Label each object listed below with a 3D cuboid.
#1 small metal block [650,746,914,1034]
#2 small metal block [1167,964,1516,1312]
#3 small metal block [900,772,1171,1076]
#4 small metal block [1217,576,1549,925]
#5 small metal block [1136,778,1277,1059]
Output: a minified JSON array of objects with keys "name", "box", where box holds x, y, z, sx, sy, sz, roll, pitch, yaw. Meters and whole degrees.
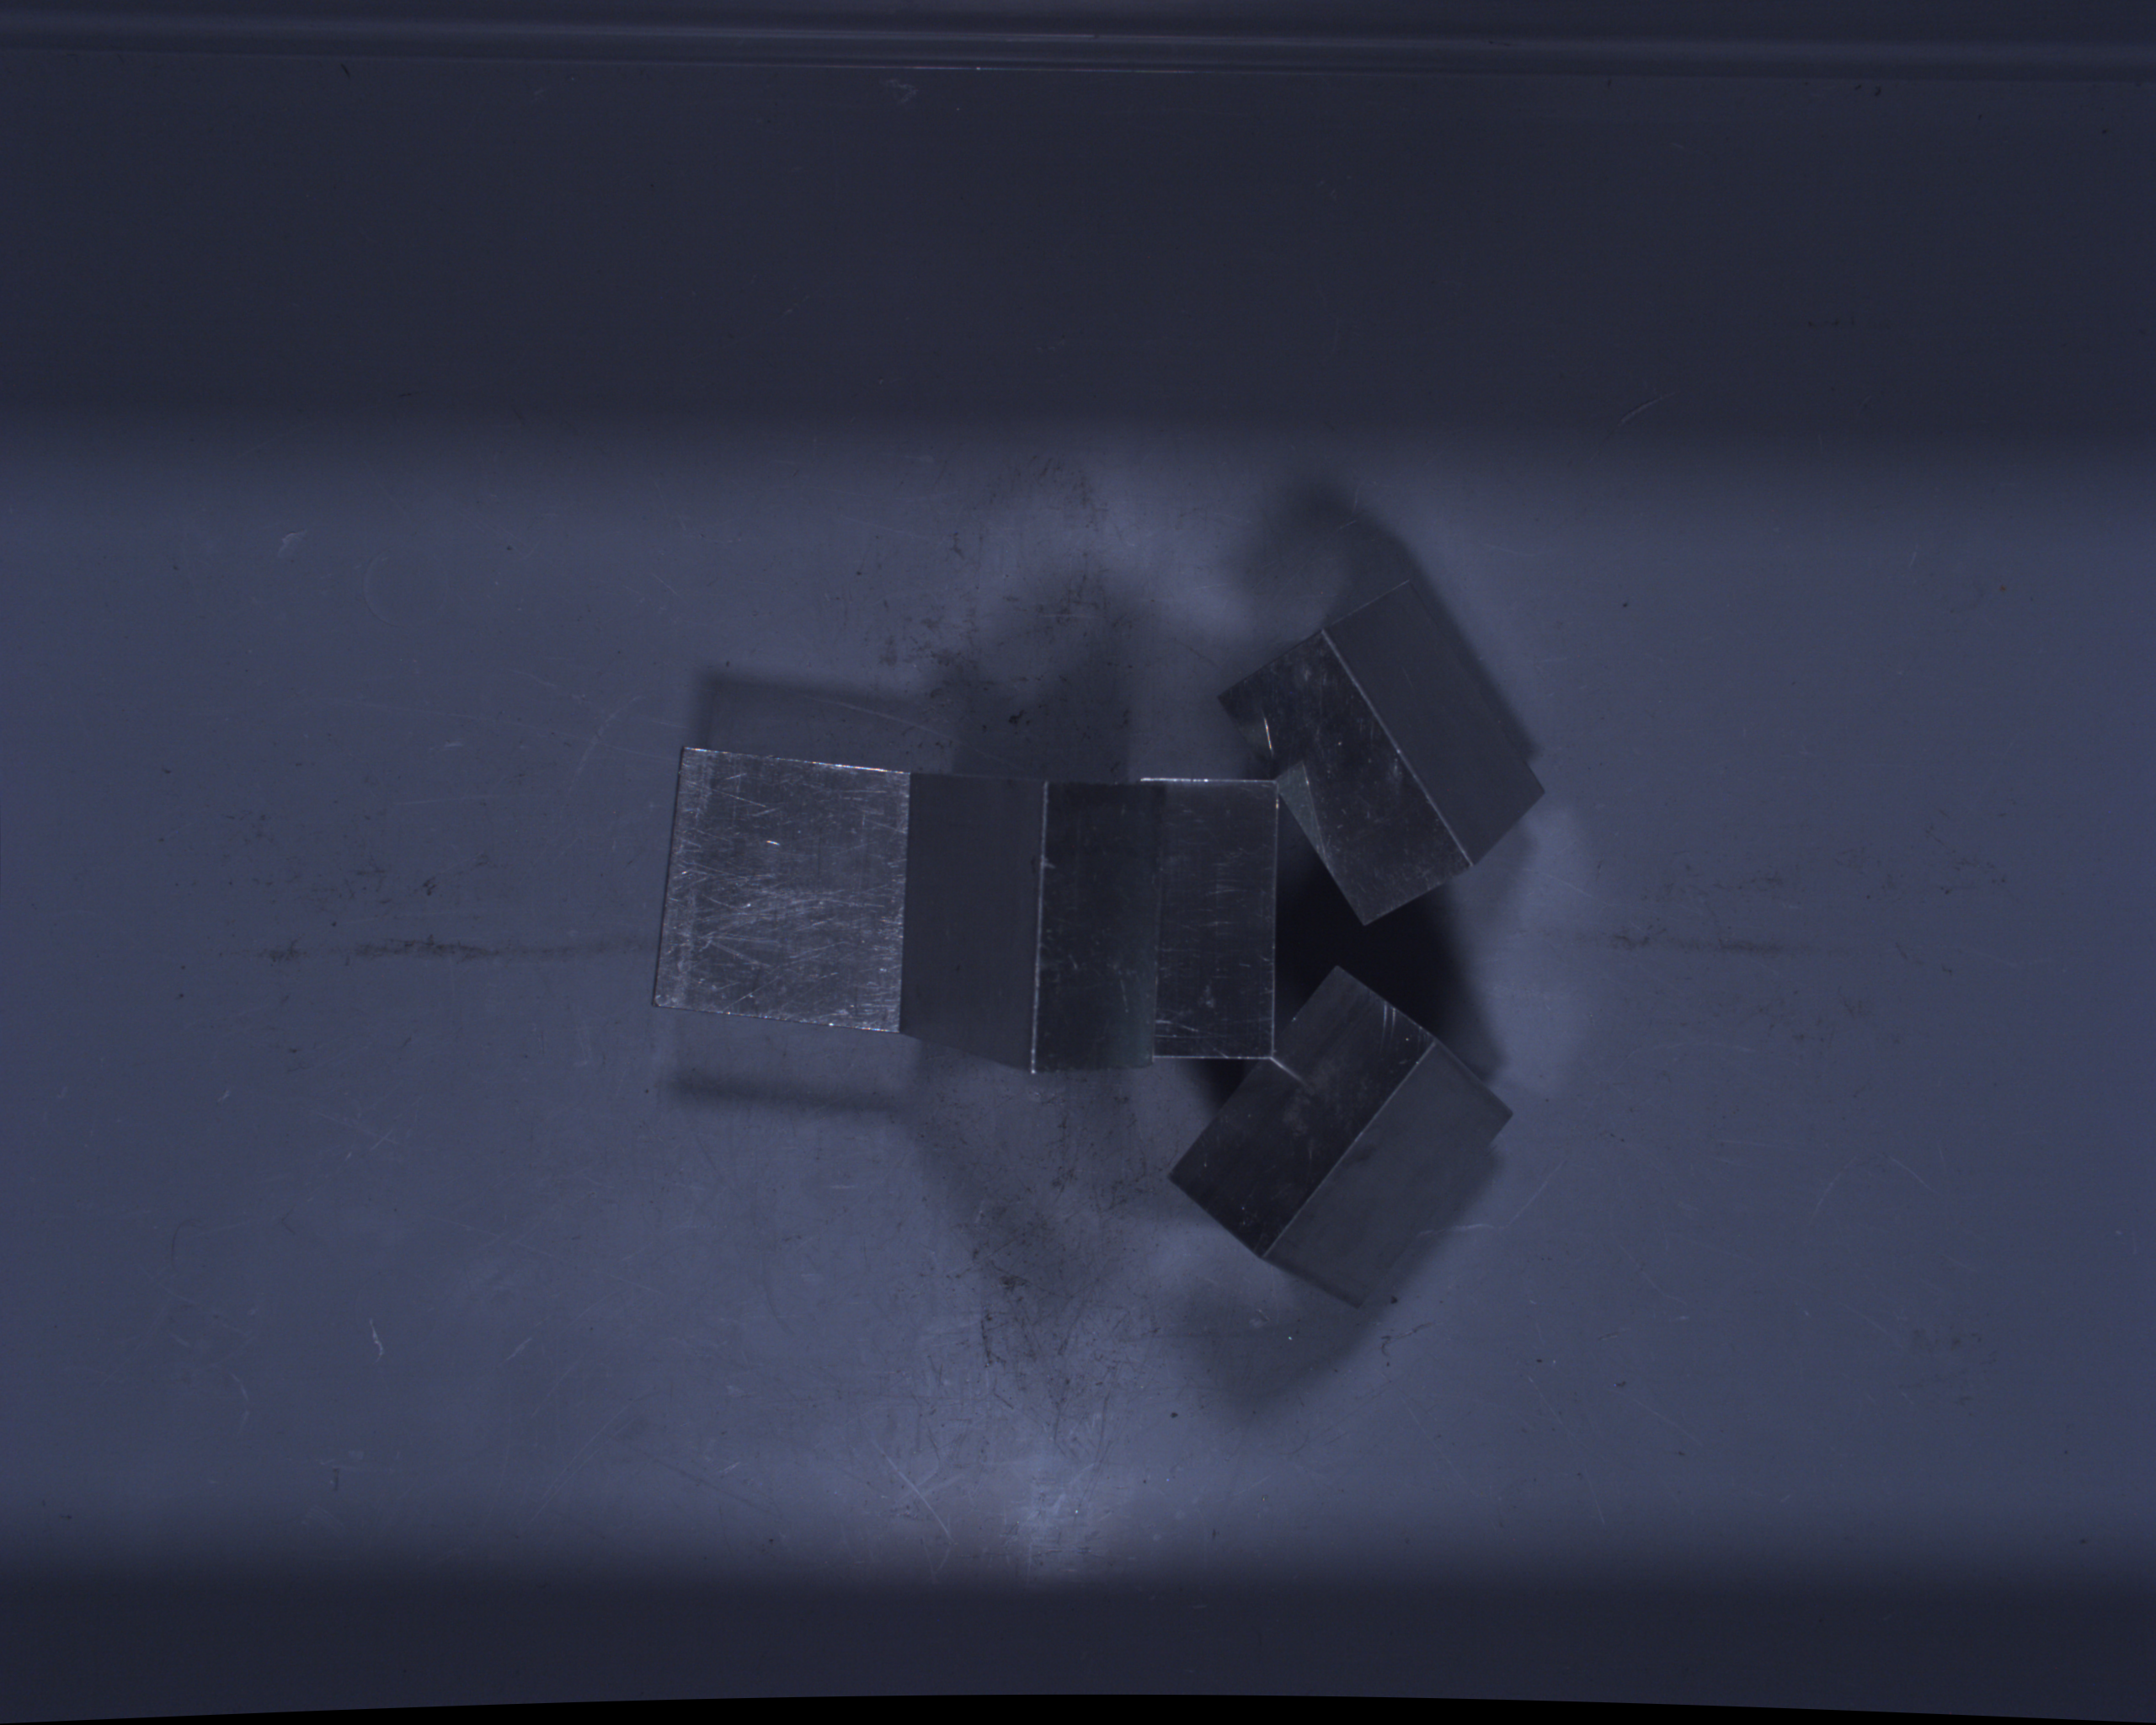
[{"name":"small metal block","box":[-0.053,0.005,0.408,0.050,0.025,0.050,7,90,-1]},{"name":"small metal block","box":[0.051,0.053,0.395,0.025,0.050,0.050,38,89,35]},{"name":"small metal block","box":[-0.009,0.010,0.379,0.025,0.050,0.050,1,93,-32]},{"name":"small metal block","box":[0.059,-0.022,0.395,0.025,0.050,0.050,-32,91,32]},{"name":"small metal block","box":[0.022,0.010,0.398,0.025,0.050,0.050,1,90,0]}]
